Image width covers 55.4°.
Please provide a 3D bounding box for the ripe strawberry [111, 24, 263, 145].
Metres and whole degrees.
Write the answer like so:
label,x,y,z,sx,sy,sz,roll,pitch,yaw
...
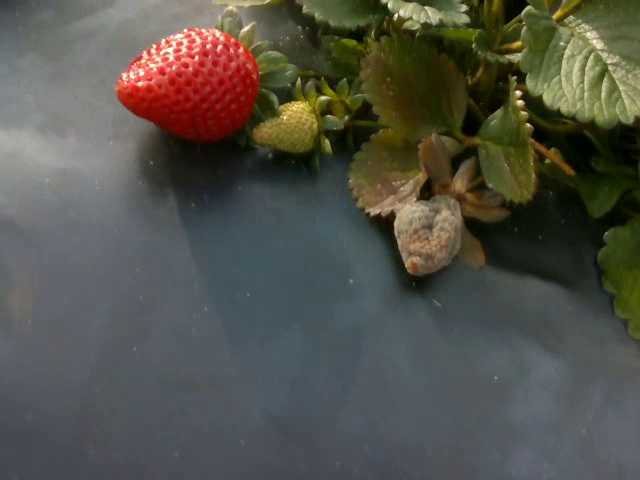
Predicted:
label,x,y,z,sx,sy,sz,roll,pitch,yaw
ripe strawberry,-0.045,-0.049,0.192,0.045,0.051,0.057,39,35,8
